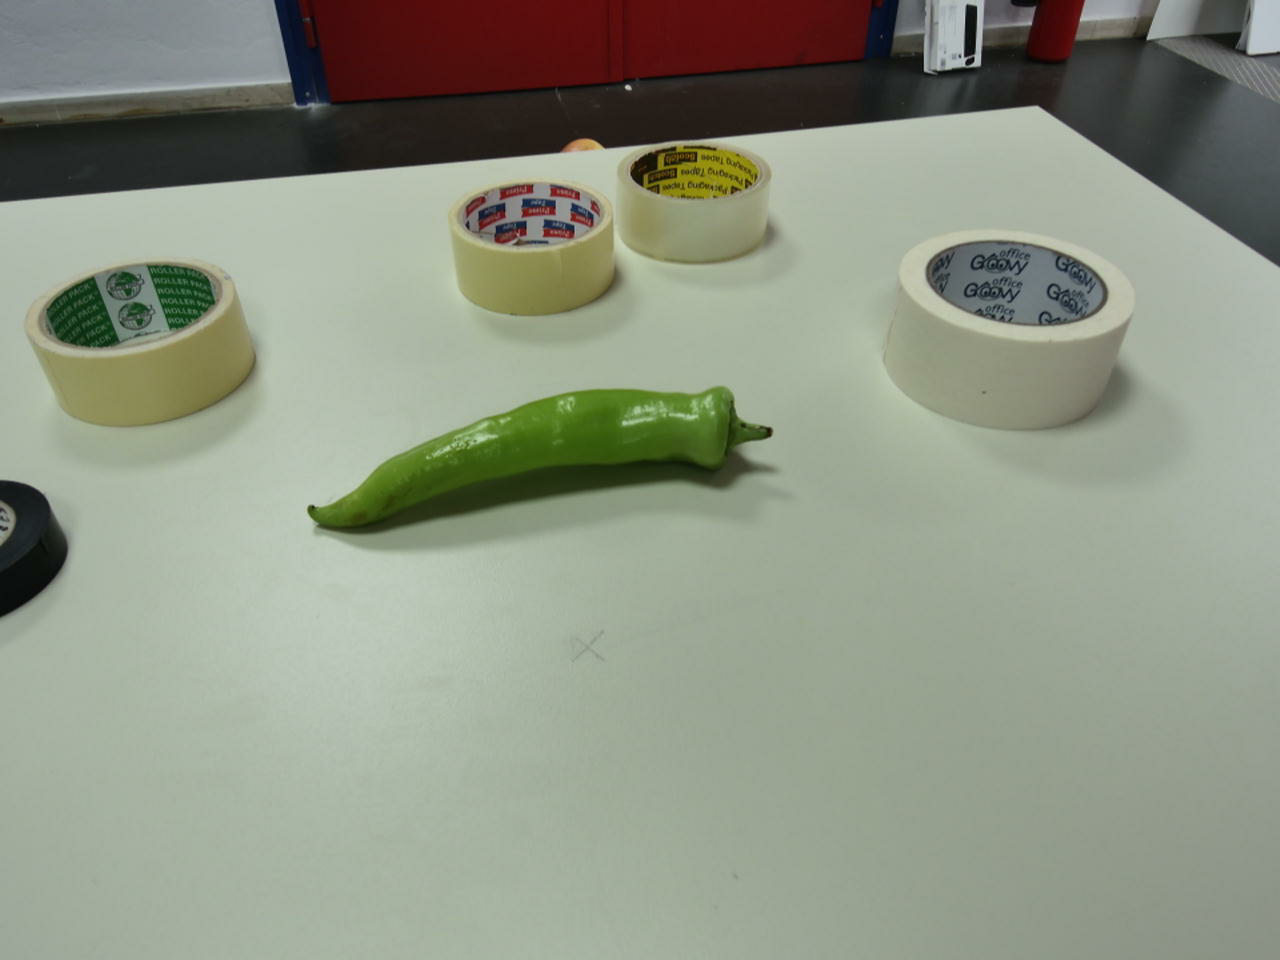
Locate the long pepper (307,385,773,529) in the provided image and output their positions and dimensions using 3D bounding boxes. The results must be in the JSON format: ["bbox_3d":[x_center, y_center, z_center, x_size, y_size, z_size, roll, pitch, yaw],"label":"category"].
[{"bbox_3d":[-0.042,-0.015,0.427,0.197,0.038,0.046,-7,39,-9],"label":"long pepper"}]
